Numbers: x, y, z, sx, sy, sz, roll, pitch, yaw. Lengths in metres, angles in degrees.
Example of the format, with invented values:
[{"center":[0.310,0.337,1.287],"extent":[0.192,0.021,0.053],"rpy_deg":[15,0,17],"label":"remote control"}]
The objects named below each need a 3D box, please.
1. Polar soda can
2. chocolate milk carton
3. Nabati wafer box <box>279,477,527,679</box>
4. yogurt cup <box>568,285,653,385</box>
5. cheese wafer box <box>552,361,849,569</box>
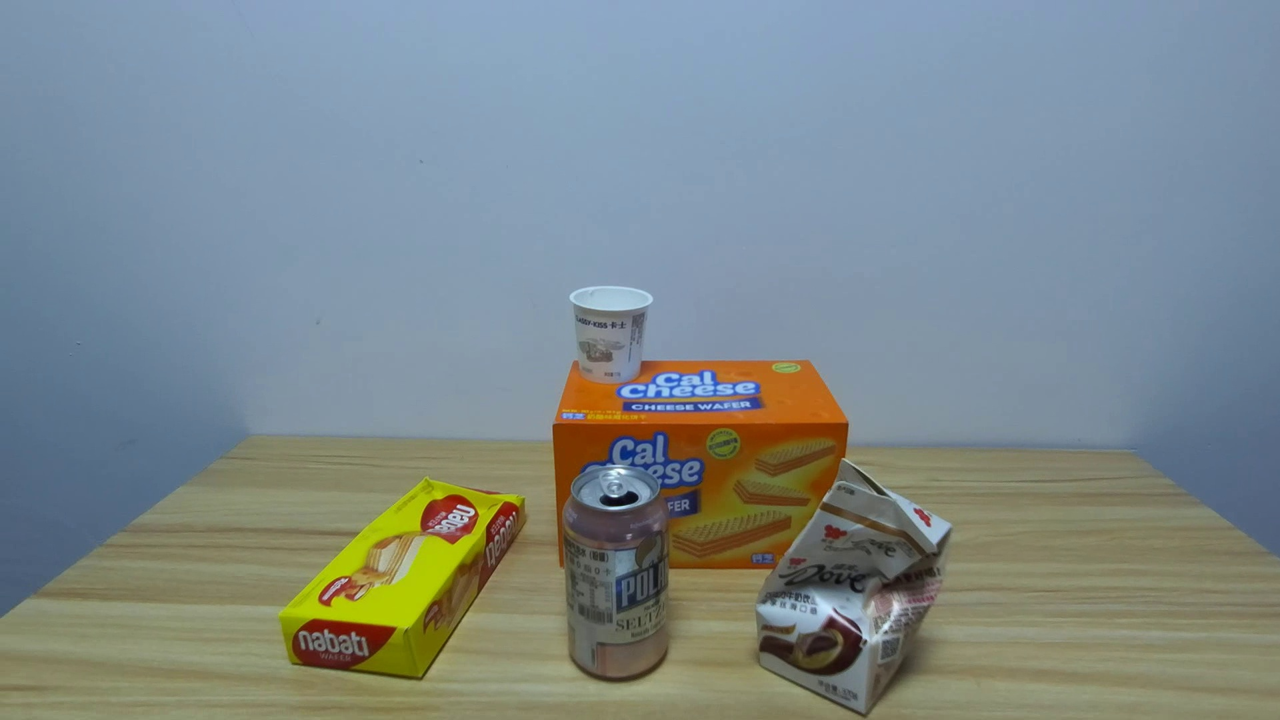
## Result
[{"center":[-0.015,0.134,0.450],"extent":[0.067,0.125,0.067],"rpy_deg":[0,19,0],"label":"Polar soda can"},{"center":[0.130,0.132,0.428],"extent":[0.089,0.155,0.077],"rpy_deg":[26,33,25],"label":"chocolate milk carton"},{"center":[-0.165,0.151,0.534],"extent":[0.096,0.042,0.203],"rpy_deg":[2,17,12],"label":"Nabati wafer box"},{"center":[-0.025,-0.021,0.599],"extent":[0.072,0.068,0.072],"rpy_deg":[2,21,0],"label":"yogurt cup"},{"center":[0.046,0.082,0.599],"extent":[0.222,0.129,0.148],"rpy_deg":[0,19,0],"label":"cheese wafer box"}]
